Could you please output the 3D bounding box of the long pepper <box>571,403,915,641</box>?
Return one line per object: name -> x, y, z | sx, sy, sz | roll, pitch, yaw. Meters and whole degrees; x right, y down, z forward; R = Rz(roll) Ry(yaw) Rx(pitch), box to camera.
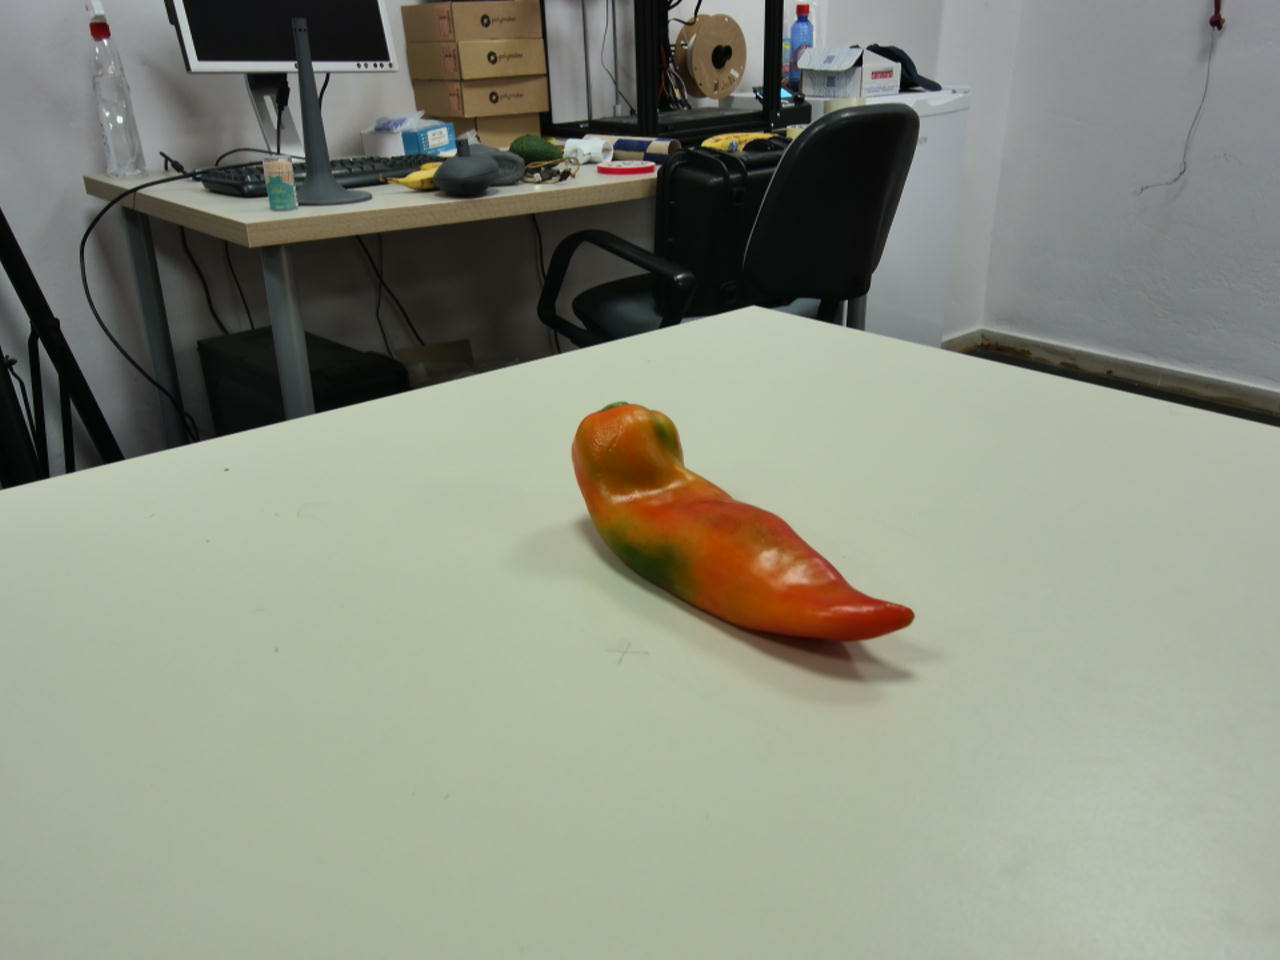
long pepper -> 0.037, 0.017, 0.440 | 0.066, 0.065, 0.199 | -14, 26, -31
